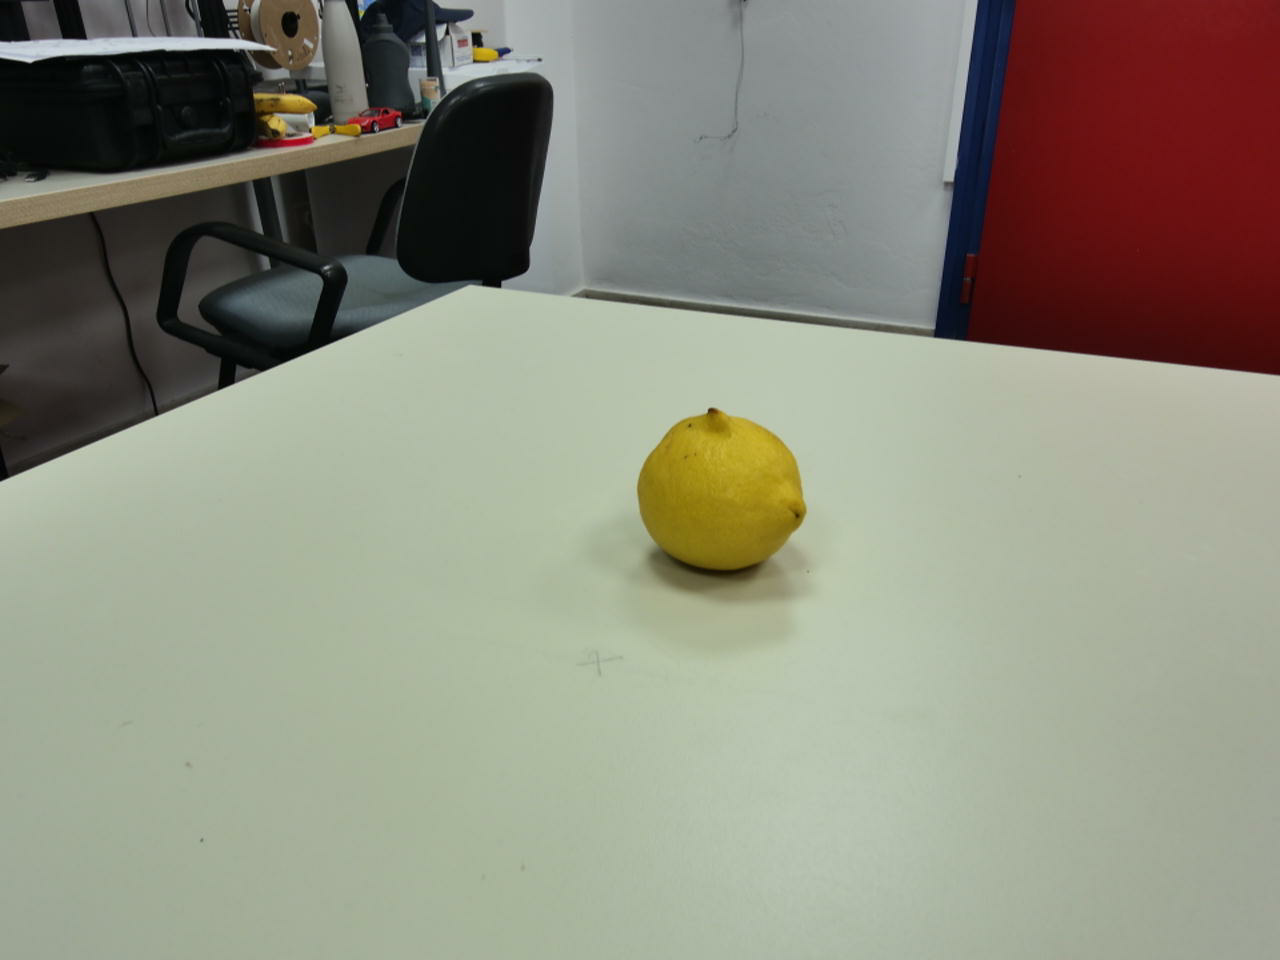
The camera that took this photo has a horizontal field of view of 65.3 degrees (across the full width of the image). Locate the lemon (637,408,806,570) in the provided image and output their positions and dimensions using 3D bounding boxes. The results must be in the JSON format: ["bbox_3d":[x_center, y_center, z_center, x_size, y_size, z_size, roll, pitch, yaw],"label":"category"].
[{"bbox_3d":[0.034,0.002,0.433,0.070,0.071,0.071,-4,24,-7],"label":"lemon"}]
